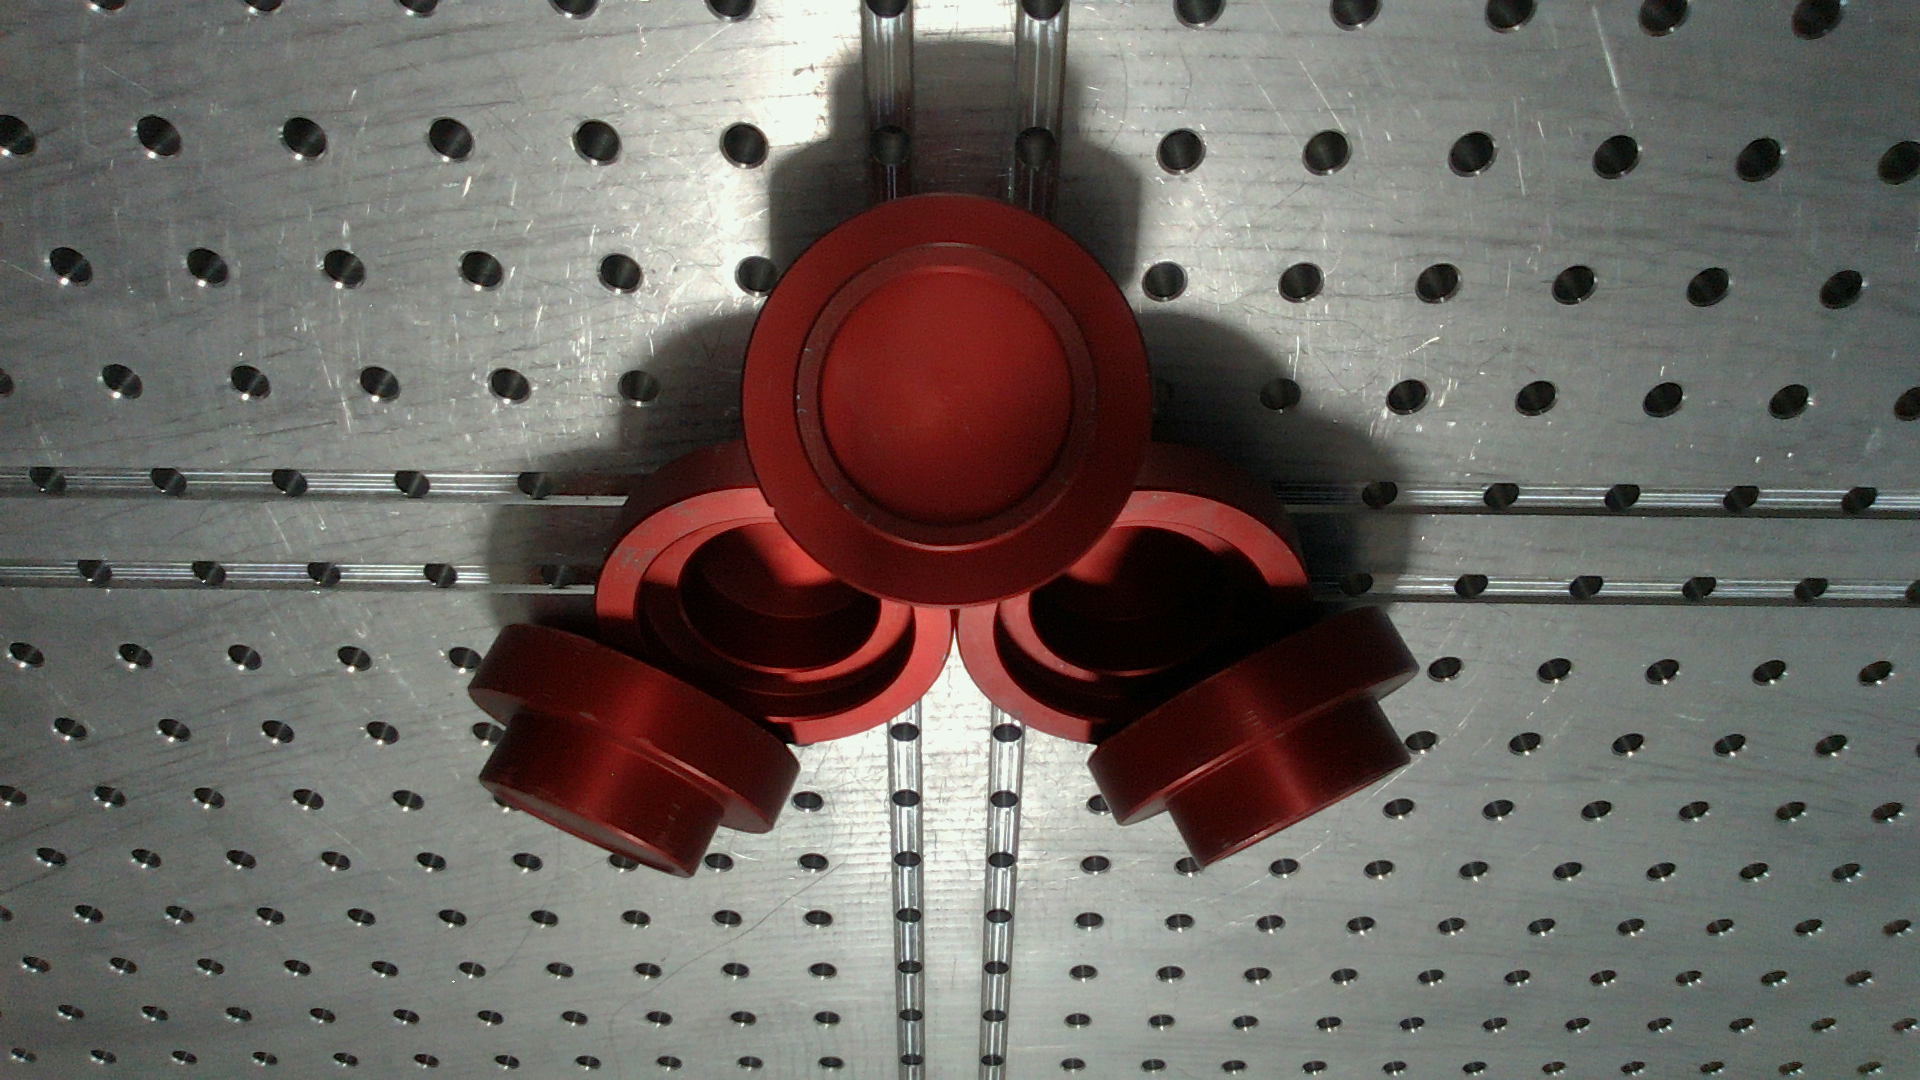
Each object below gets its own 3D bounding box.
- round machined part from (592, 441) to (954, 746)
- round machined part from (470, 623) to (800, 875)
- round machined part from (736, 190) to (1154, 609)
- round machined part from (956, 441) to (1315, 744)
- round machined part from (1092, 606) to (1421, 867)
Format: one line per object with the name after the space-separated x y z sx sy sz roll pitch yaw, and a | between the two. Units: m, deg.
-0.050 0.010 0.390 0.098 0.042 0.098 0 130 0 | round machined part
-0.101 0.067 0.408 0.098 0.042 0.098 21 158 9 | round machined part
-0.004 -0.033 0.322 0.098 0.042 0.098 0 92 0 | round machined part
0.048 0.011 0.392 0.098 0.042 0.098 0 130 0 | round machined part
0.090 0.062 0.400 0.098 0.042 0.098 -24 161 -8 | round machined part
